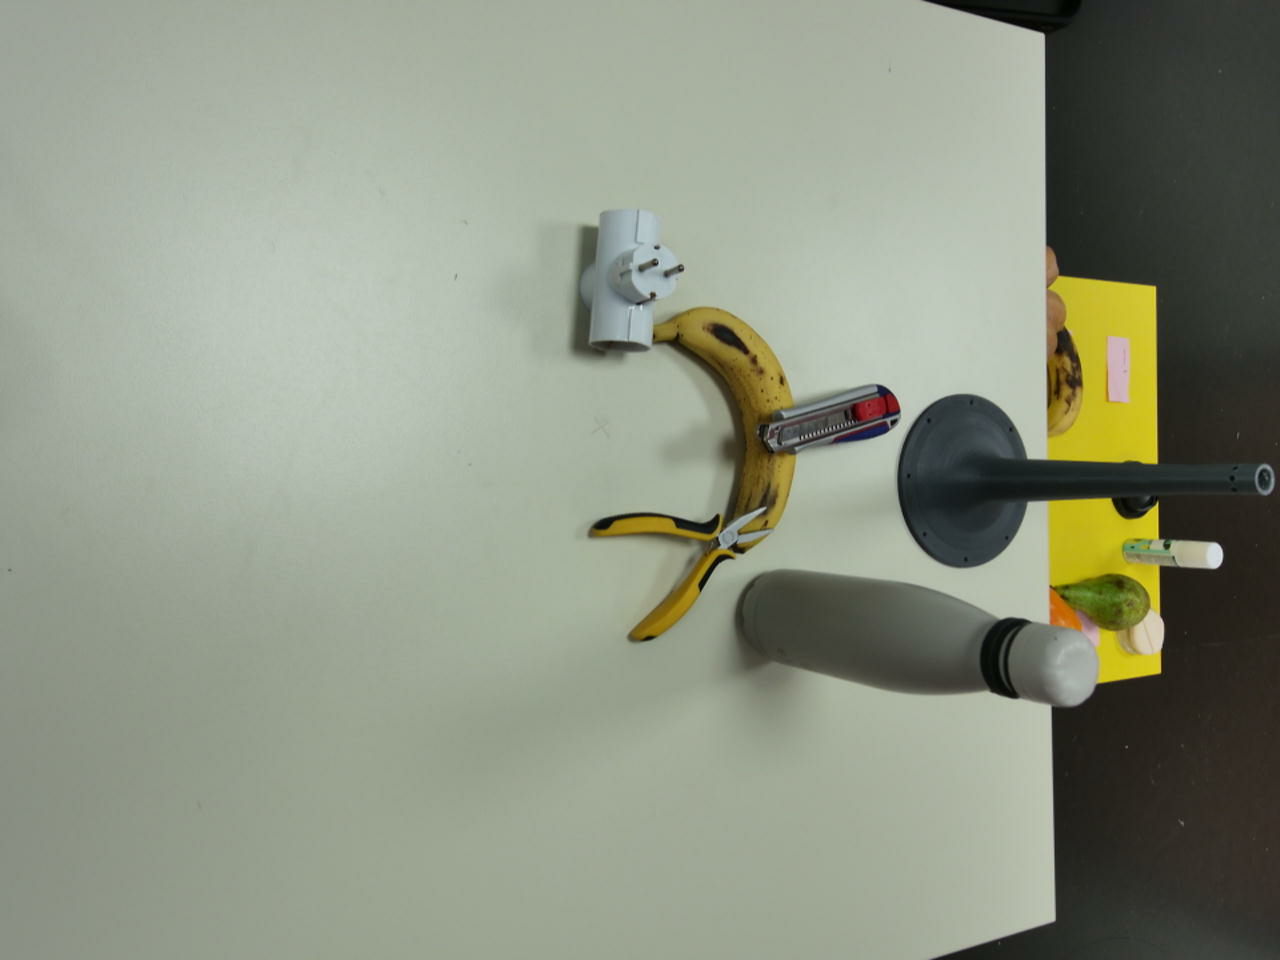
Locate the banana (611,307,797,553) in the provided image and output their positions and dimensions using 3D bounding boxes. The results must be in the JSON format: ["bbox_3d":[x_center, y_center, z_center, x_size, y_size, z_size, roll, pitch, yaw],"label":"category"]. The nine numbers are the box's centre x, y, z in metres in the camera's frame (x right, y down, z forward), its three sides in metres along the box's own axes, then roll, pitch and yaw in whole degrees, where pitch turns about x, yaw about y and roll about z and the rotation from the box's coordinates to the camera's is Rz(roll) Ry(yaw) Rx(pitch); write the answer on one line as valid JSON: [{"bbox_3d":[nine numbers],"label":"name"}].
[{"bbox_3d":[0.069,-0.047,0.735,0.097,0.038,0.186,-32,104,-24],"label":"banana"}]
